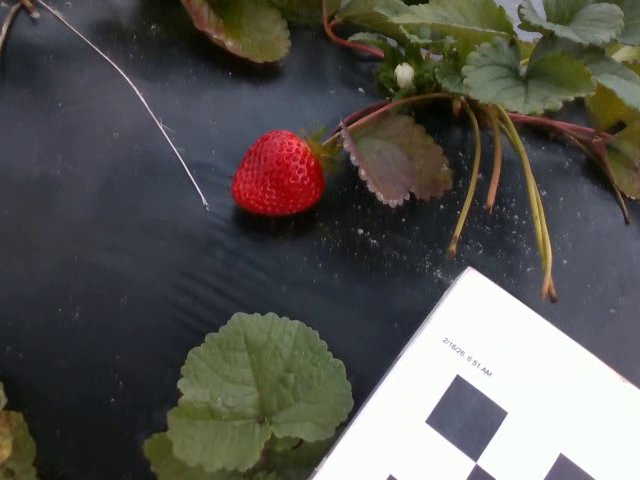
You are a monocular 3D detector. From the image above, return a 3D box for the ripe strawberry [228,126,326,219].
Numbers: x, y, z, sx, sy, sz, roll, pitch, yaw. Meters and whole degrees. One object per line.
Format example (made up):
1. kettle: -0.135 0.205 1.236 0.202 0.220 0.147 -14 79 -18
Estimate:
1. ripe strawberry: -0.015 -0.020 0.182 0.033 0.029 0.022 -34 -20 -17
